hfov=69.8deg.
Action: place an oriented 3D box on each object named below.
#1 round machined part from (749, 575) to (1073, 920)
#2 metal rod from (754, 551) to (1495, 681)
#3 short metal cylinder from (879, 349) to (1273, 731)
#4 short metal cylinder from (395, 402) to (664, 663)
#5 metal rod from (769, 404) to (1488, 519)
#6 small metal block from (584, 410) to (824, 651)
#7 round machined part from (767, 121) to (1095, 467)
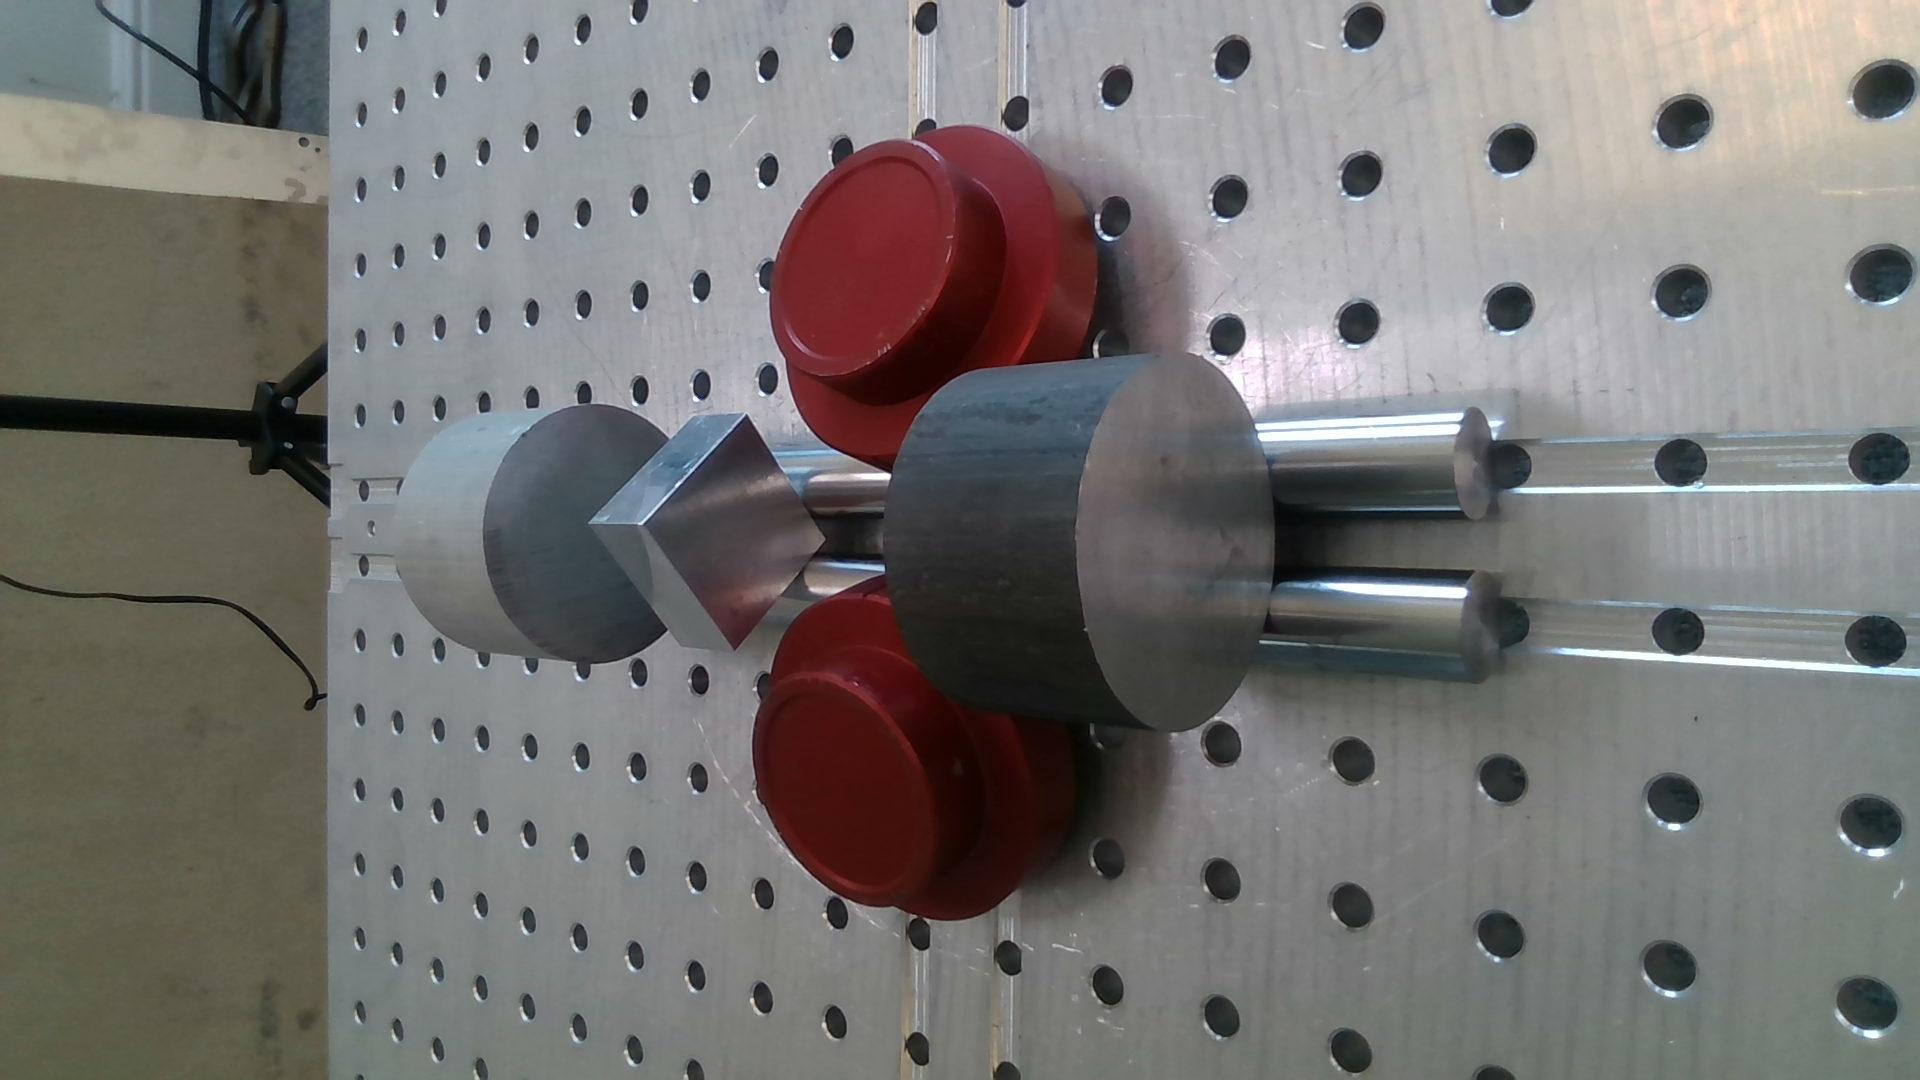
[{"bbox_3d":[-0.020,0.061,0.383,0.098,0.042,0.098,15,115,36],"label":"round machined part"},{"bbox_3d":[-0.003,0.016,0.395,0.300,0.025,0.025,1,91,40],"label":"metal rod"},{"bbox_3d":[0.028,0.000,0.306,0.050,0.080,0.080,1,91,40],"label":"short metal cylinder"},{"bbox_3d":[-0.129,-0.003,0.439,0.050,0.080,0.080,1,91,40],"label":"short metal cylinder"},{"bbox_3d":[-0.004,-0.019,0.396,0.300,0.025,0.025,1,91,40],"label":"metal rod"},{"bbox_3d":[-0.075,-0.003,0.410,0.025,0.050,0.050,2,133,40],"label":"small metal block"},{"bbox_3d":[-0.015,-0.070,0.378,0.098,0.042,0.098,-14,68,37],"label":"round machined part"}]
